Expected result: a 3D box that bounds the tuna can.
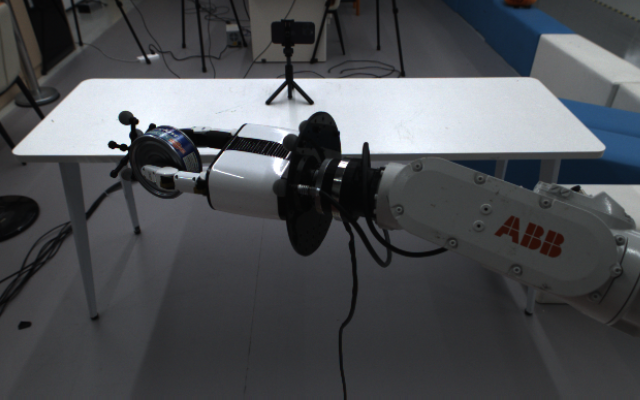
[{"bbox_3d":[-0.188,-0.048,0.593,0.085,0.085,0.034,13,31,16],"label":"tuna can"}]
